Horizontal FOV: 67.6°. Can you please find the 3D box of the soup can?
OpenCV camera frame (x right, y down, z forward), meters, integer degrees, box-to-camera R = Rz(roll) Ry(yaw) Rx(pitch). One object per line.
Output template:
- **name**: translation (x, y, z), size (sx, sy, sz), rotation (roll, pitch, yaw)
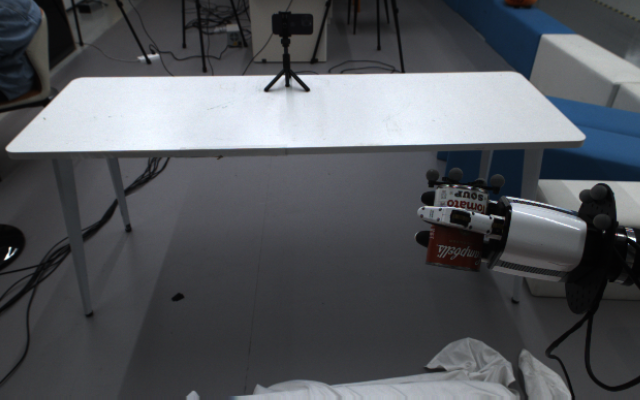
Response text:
- **soup can**: translation (0.176, 0.036, 0.614), size (0.067, 0.101, 0.067), rotation (9, -6, 1)
